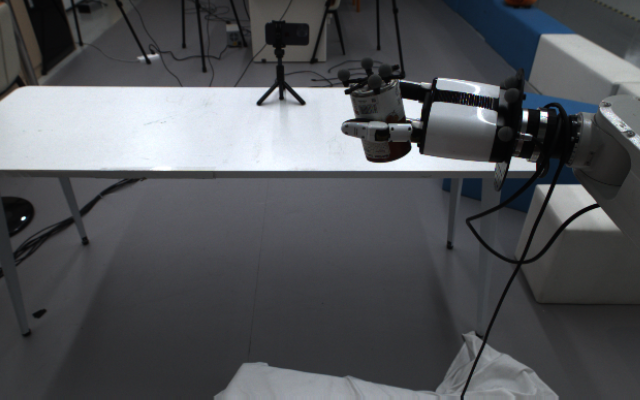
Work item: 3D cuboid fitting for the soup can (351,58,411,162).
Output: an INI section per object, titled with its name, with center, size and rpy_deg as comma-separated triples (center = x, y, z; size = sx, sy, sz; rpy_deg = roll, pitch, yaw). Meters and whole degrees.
[soup can]
center = 0.083, -0.112, 0.660
size = 0.067, 0.101, 0.067
rpy_deg = -13, 31, 8
